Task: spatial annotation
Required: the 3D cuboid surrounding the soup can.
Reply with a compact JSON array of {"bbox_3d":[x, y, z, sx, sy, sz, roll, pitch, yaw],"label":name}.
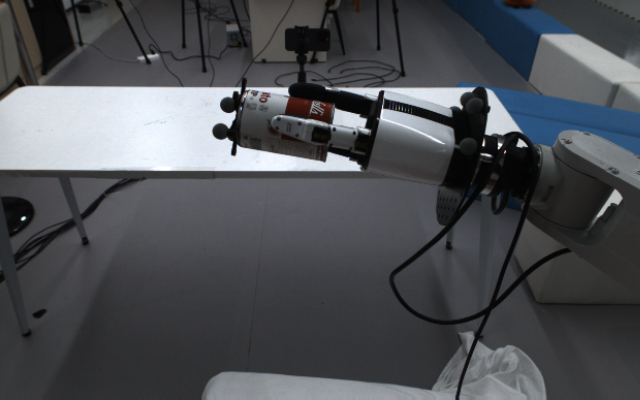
[{"bbox_3d":[-0.036,-0.085,0.554,0.101,0.067,0.067,10,35,0],"label":"soup can"}]
